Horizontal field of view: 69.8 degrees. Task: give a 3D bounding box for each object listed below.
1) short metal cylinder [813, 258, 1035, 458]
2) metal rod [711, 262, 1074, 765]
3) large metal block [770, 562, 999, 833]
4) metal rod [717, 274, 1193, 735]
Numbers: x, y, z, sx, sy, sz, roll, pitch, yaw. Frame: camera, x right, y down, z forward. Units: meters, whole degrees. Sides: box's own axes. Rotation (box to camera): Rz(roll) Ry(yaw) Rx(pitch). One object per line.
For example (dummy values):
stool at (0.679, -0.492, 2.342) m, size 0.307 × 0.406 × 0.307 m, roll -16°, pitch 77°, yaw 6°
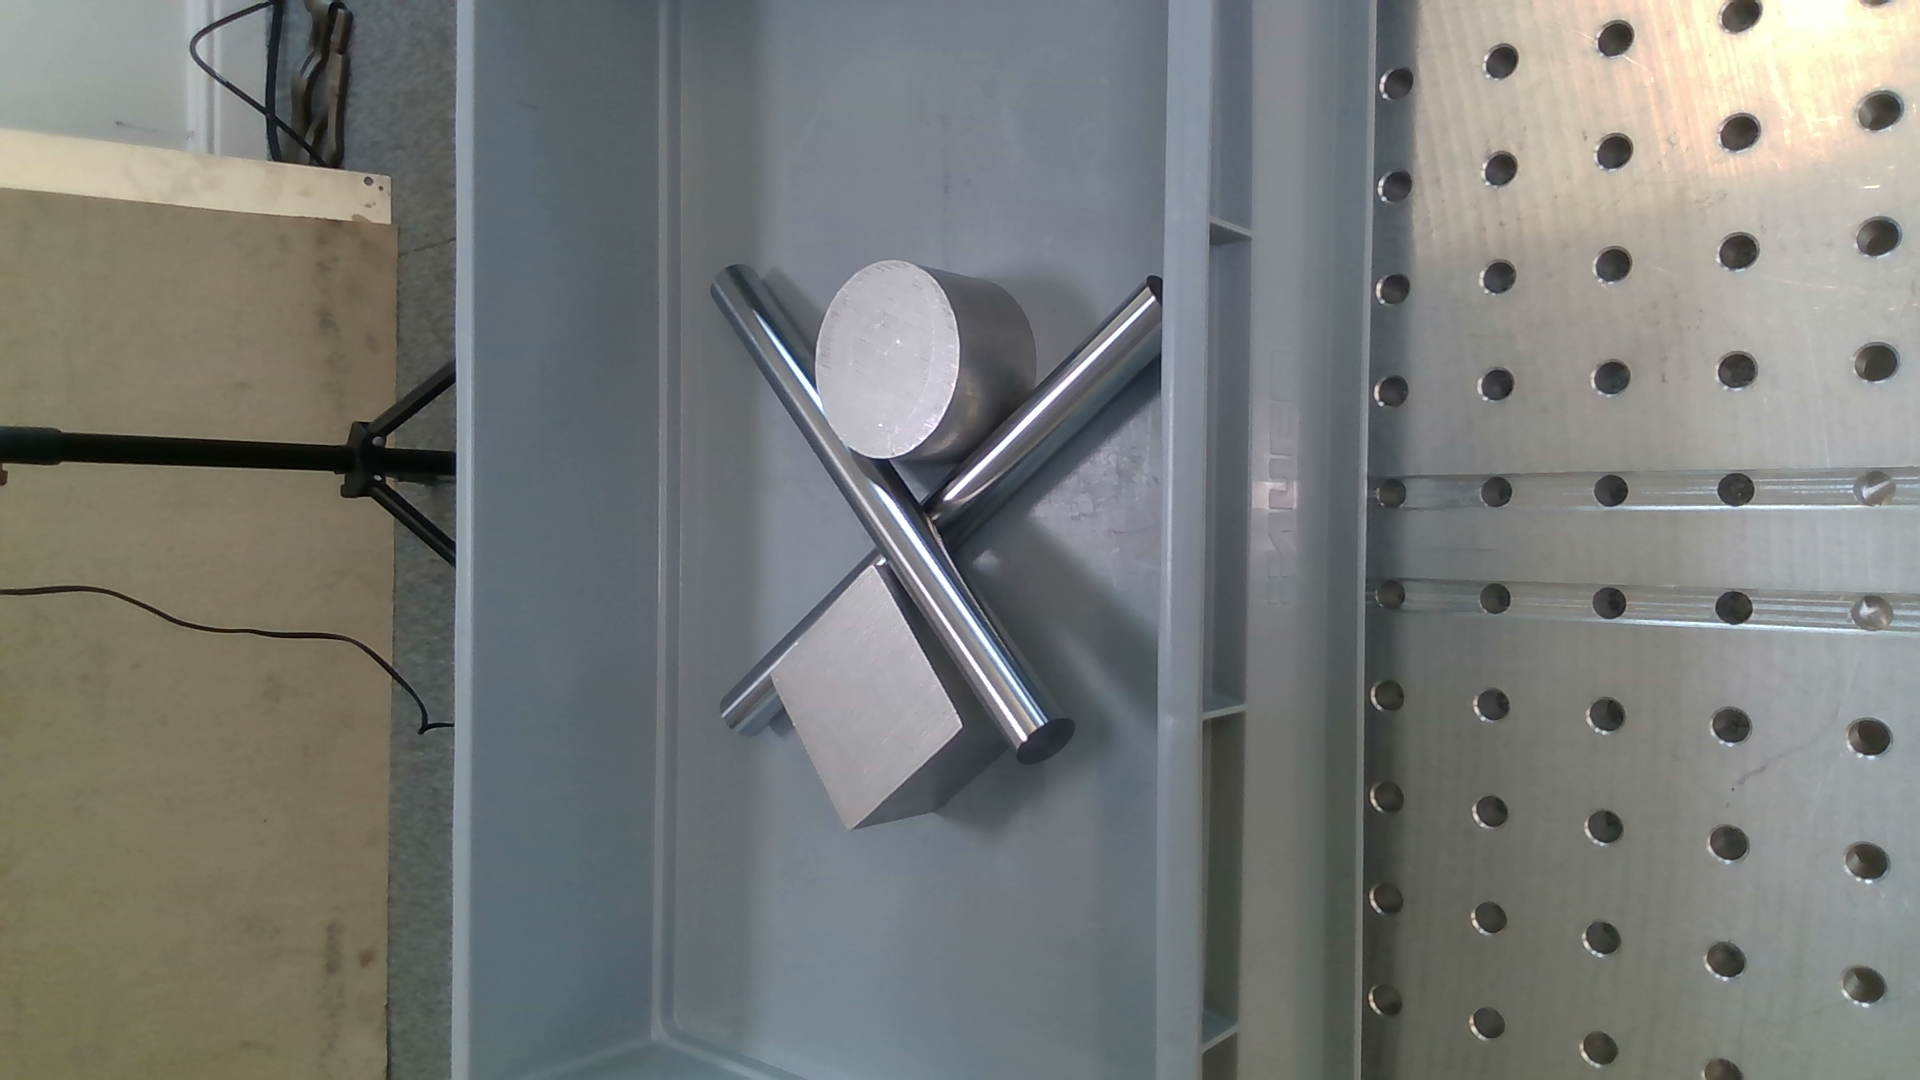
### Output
short metal cylinder at (-0.015, -0.074, 0.577) m, size 0.080 × 0.050 × 0.080 m, roll 0°, pitch 91°, yaw 40°
metal rod at (-0.040, -0.026, 0.587) m, size 0.025 × 0.025 × 0.299 m, roll -56°, pitch 50°, yaw 26°
large metal block at (-0.024, 0.065, 0.584) m, size 0.080 × 0.050 × 0.080 m, roll -46°, pitch 63°, yaw 31°
metal rod at (-0.015, -0.003, 0.592) m, size 0.301 × 0.025 × 0.025 m, roll -43°, pitch 64°, yaw 32°
